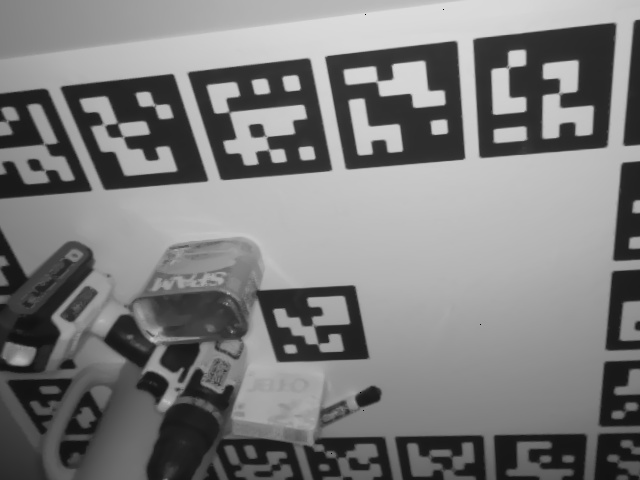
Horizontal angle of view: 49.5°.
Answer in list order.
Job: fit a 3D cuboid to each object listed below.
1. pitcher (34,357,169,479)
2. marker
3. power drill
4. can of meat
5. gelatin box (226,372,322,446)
[{"bbox_3d":[-0.199,0.232,0.691,0.190,0.244,0.131,20,120,-11],"label":"pitcher"},{"bbox_3d":[0.019,0.203,0.764,0.119,0.020,0.020,-30,112,23],"label":"marker"},{"bbox_3d":[-0.168,0.129,0.650,0.187,0.187,0.056,28,120,-2],"label":"power drill"},{"bbox_3d":[-0.108,0.044,0.643,0.101,0.084,0.057,-6,123,13],"label":"can of meat"},{"bbox_3d":[-0.048,0.174,0.727,0.089,0.074,0.030,5,119,7],"label":"gelatin box"}]
